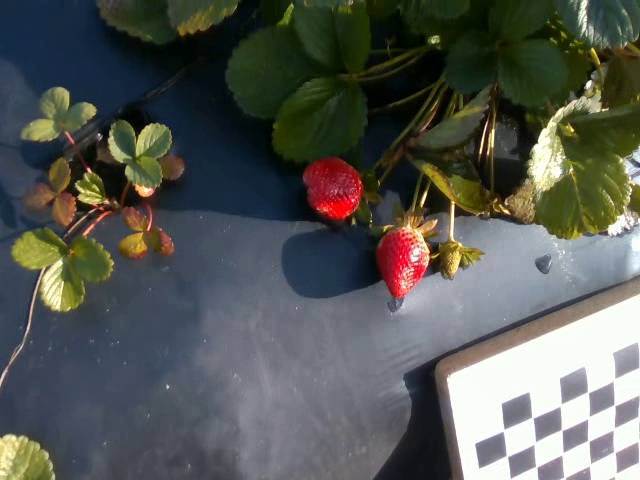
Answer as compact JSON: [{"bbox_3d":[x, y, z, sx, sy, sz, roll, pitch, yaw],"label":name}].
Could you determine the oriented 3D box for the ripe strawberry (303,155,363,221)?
[{"bbox_3d":[0.008,-0.035,0.411,0.054,0.048,0.039,-10,19,-41],"label":"ripe strawberry"}]

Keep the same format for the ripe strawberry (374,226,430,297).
[{"bbox_3d":[0.057,0.016,0.404,0.043,0.053,0.038,27,-35,-23],"label":"ripe strawberry"}]
